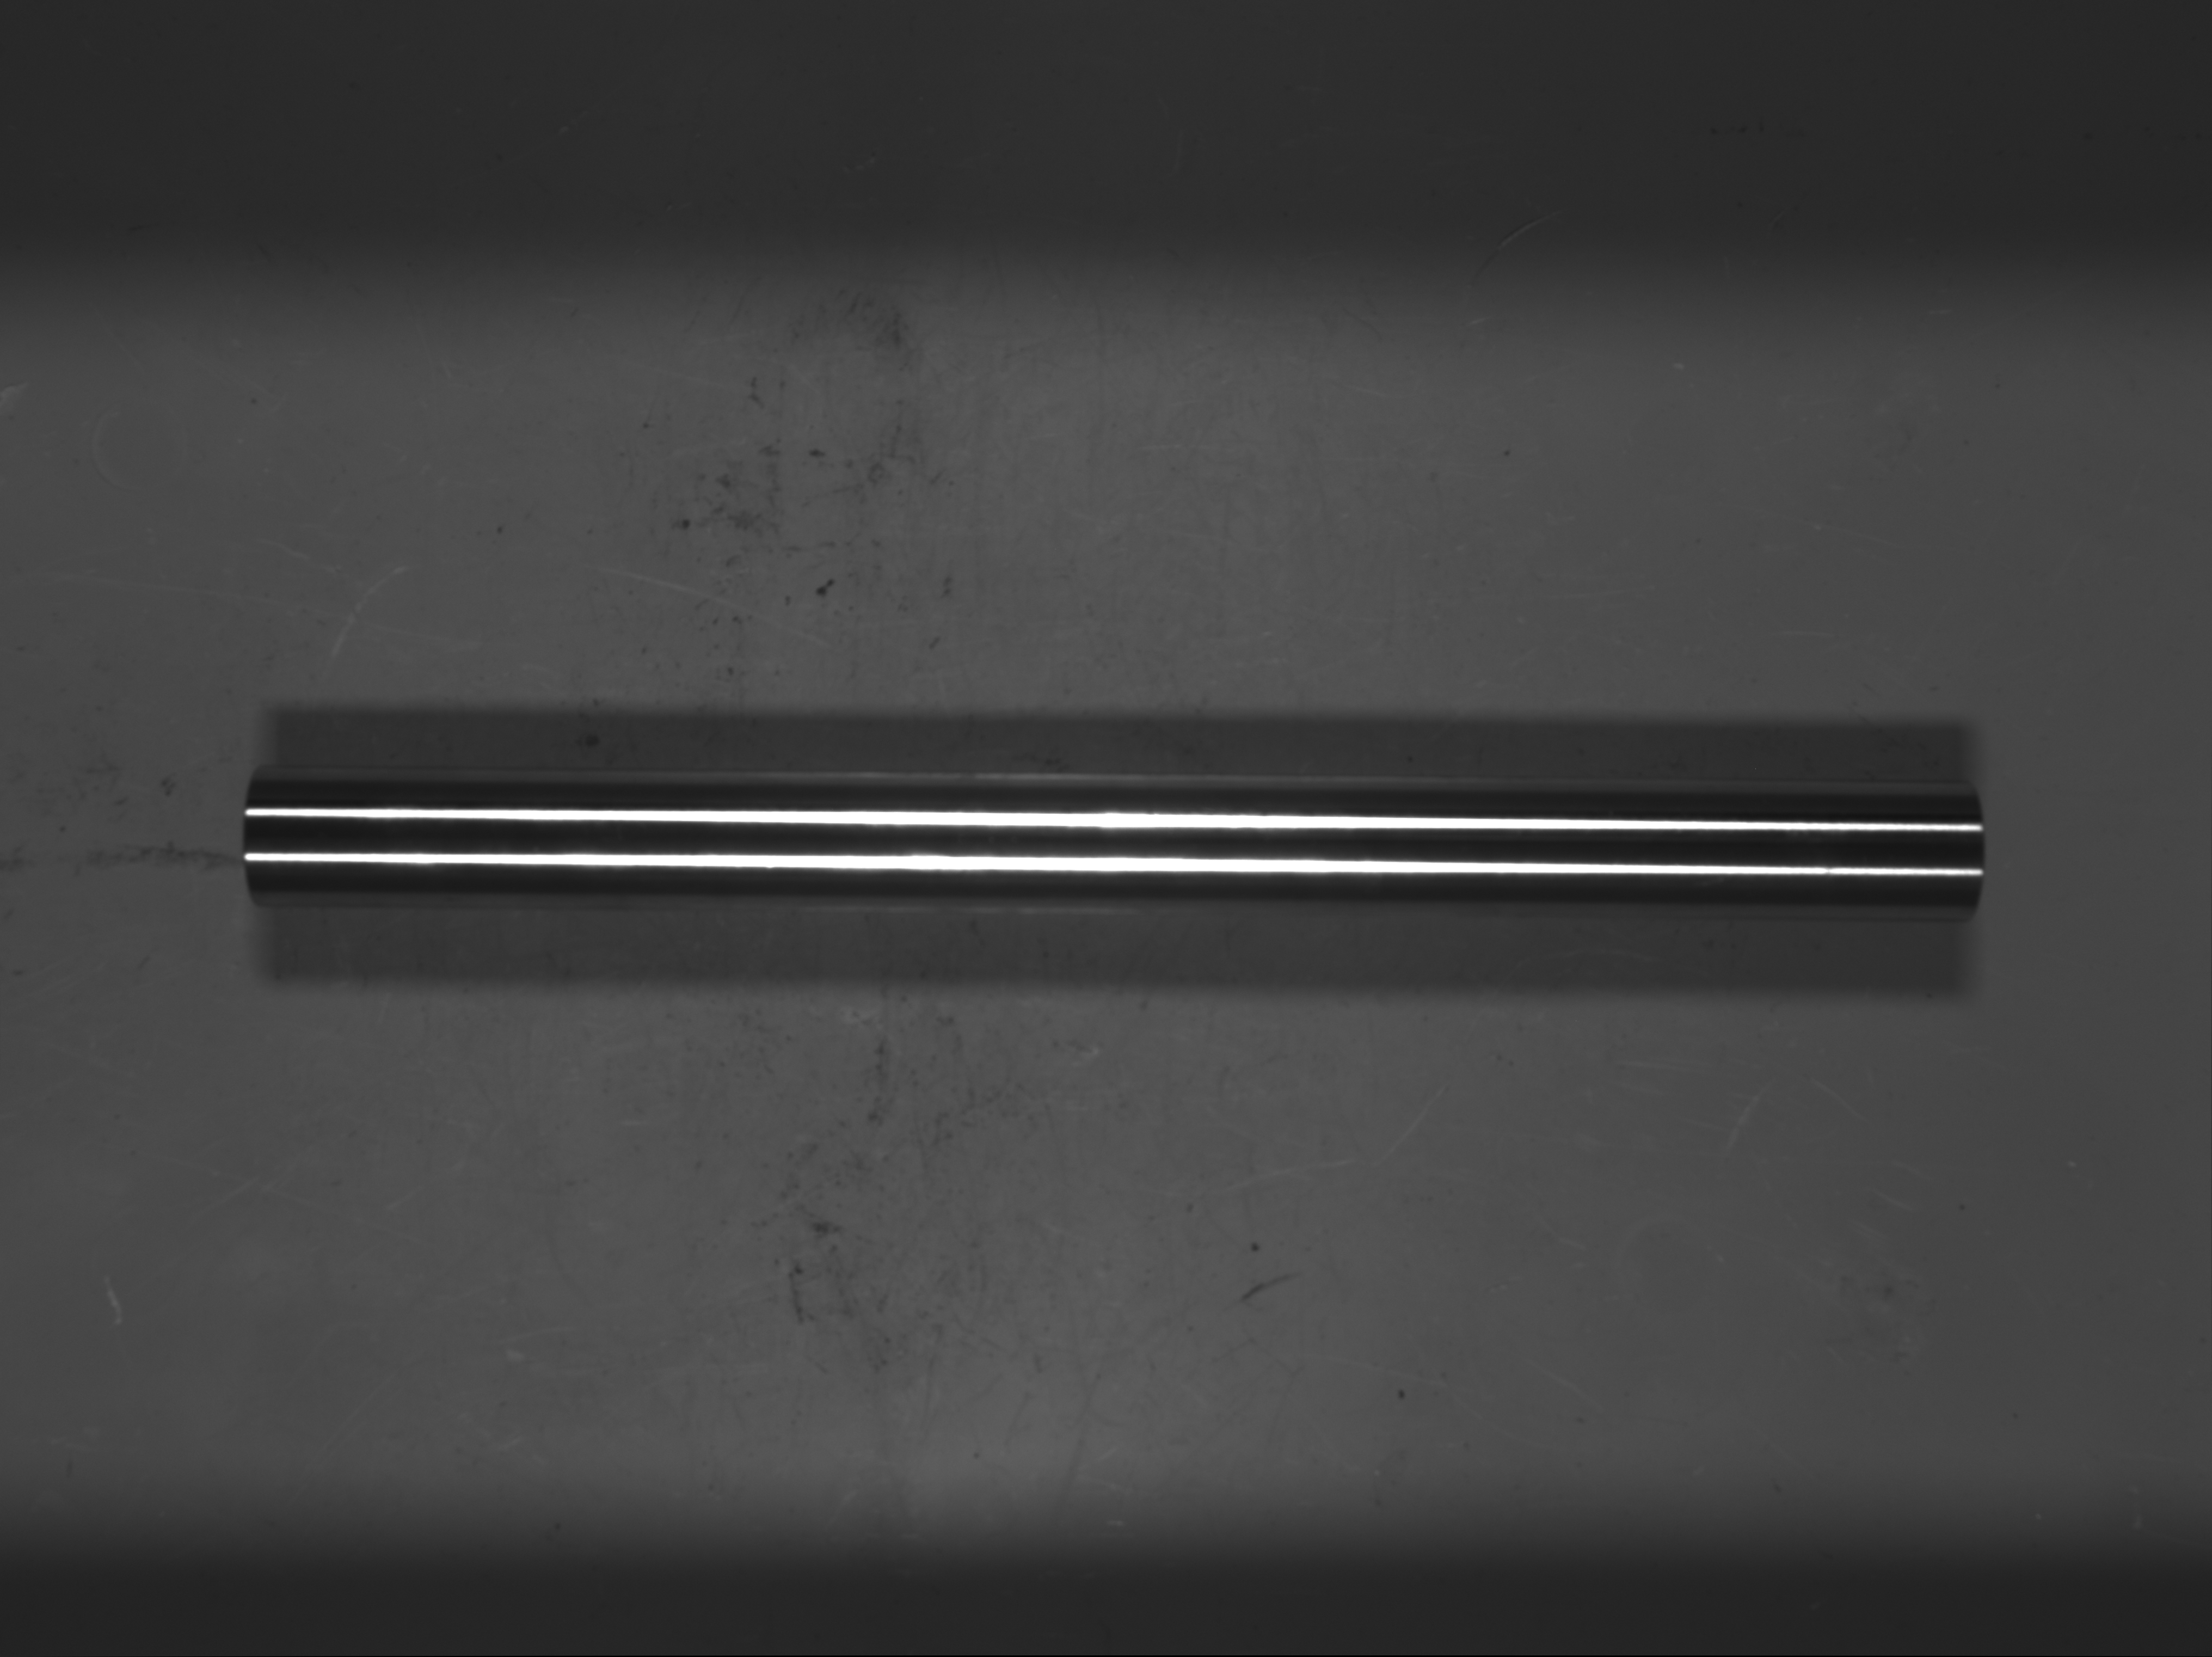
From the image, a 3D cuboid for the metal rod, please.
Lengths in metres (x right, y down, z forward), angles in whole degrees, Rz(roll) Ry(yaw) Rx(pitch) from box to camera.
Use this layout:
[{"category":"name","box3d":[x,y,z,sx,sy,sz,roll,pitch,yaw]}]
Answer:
[{"category":"metal rod","box3d":[0.002,0.003,0.643,0.300,0.025,0.025,0,90,-1]}]
